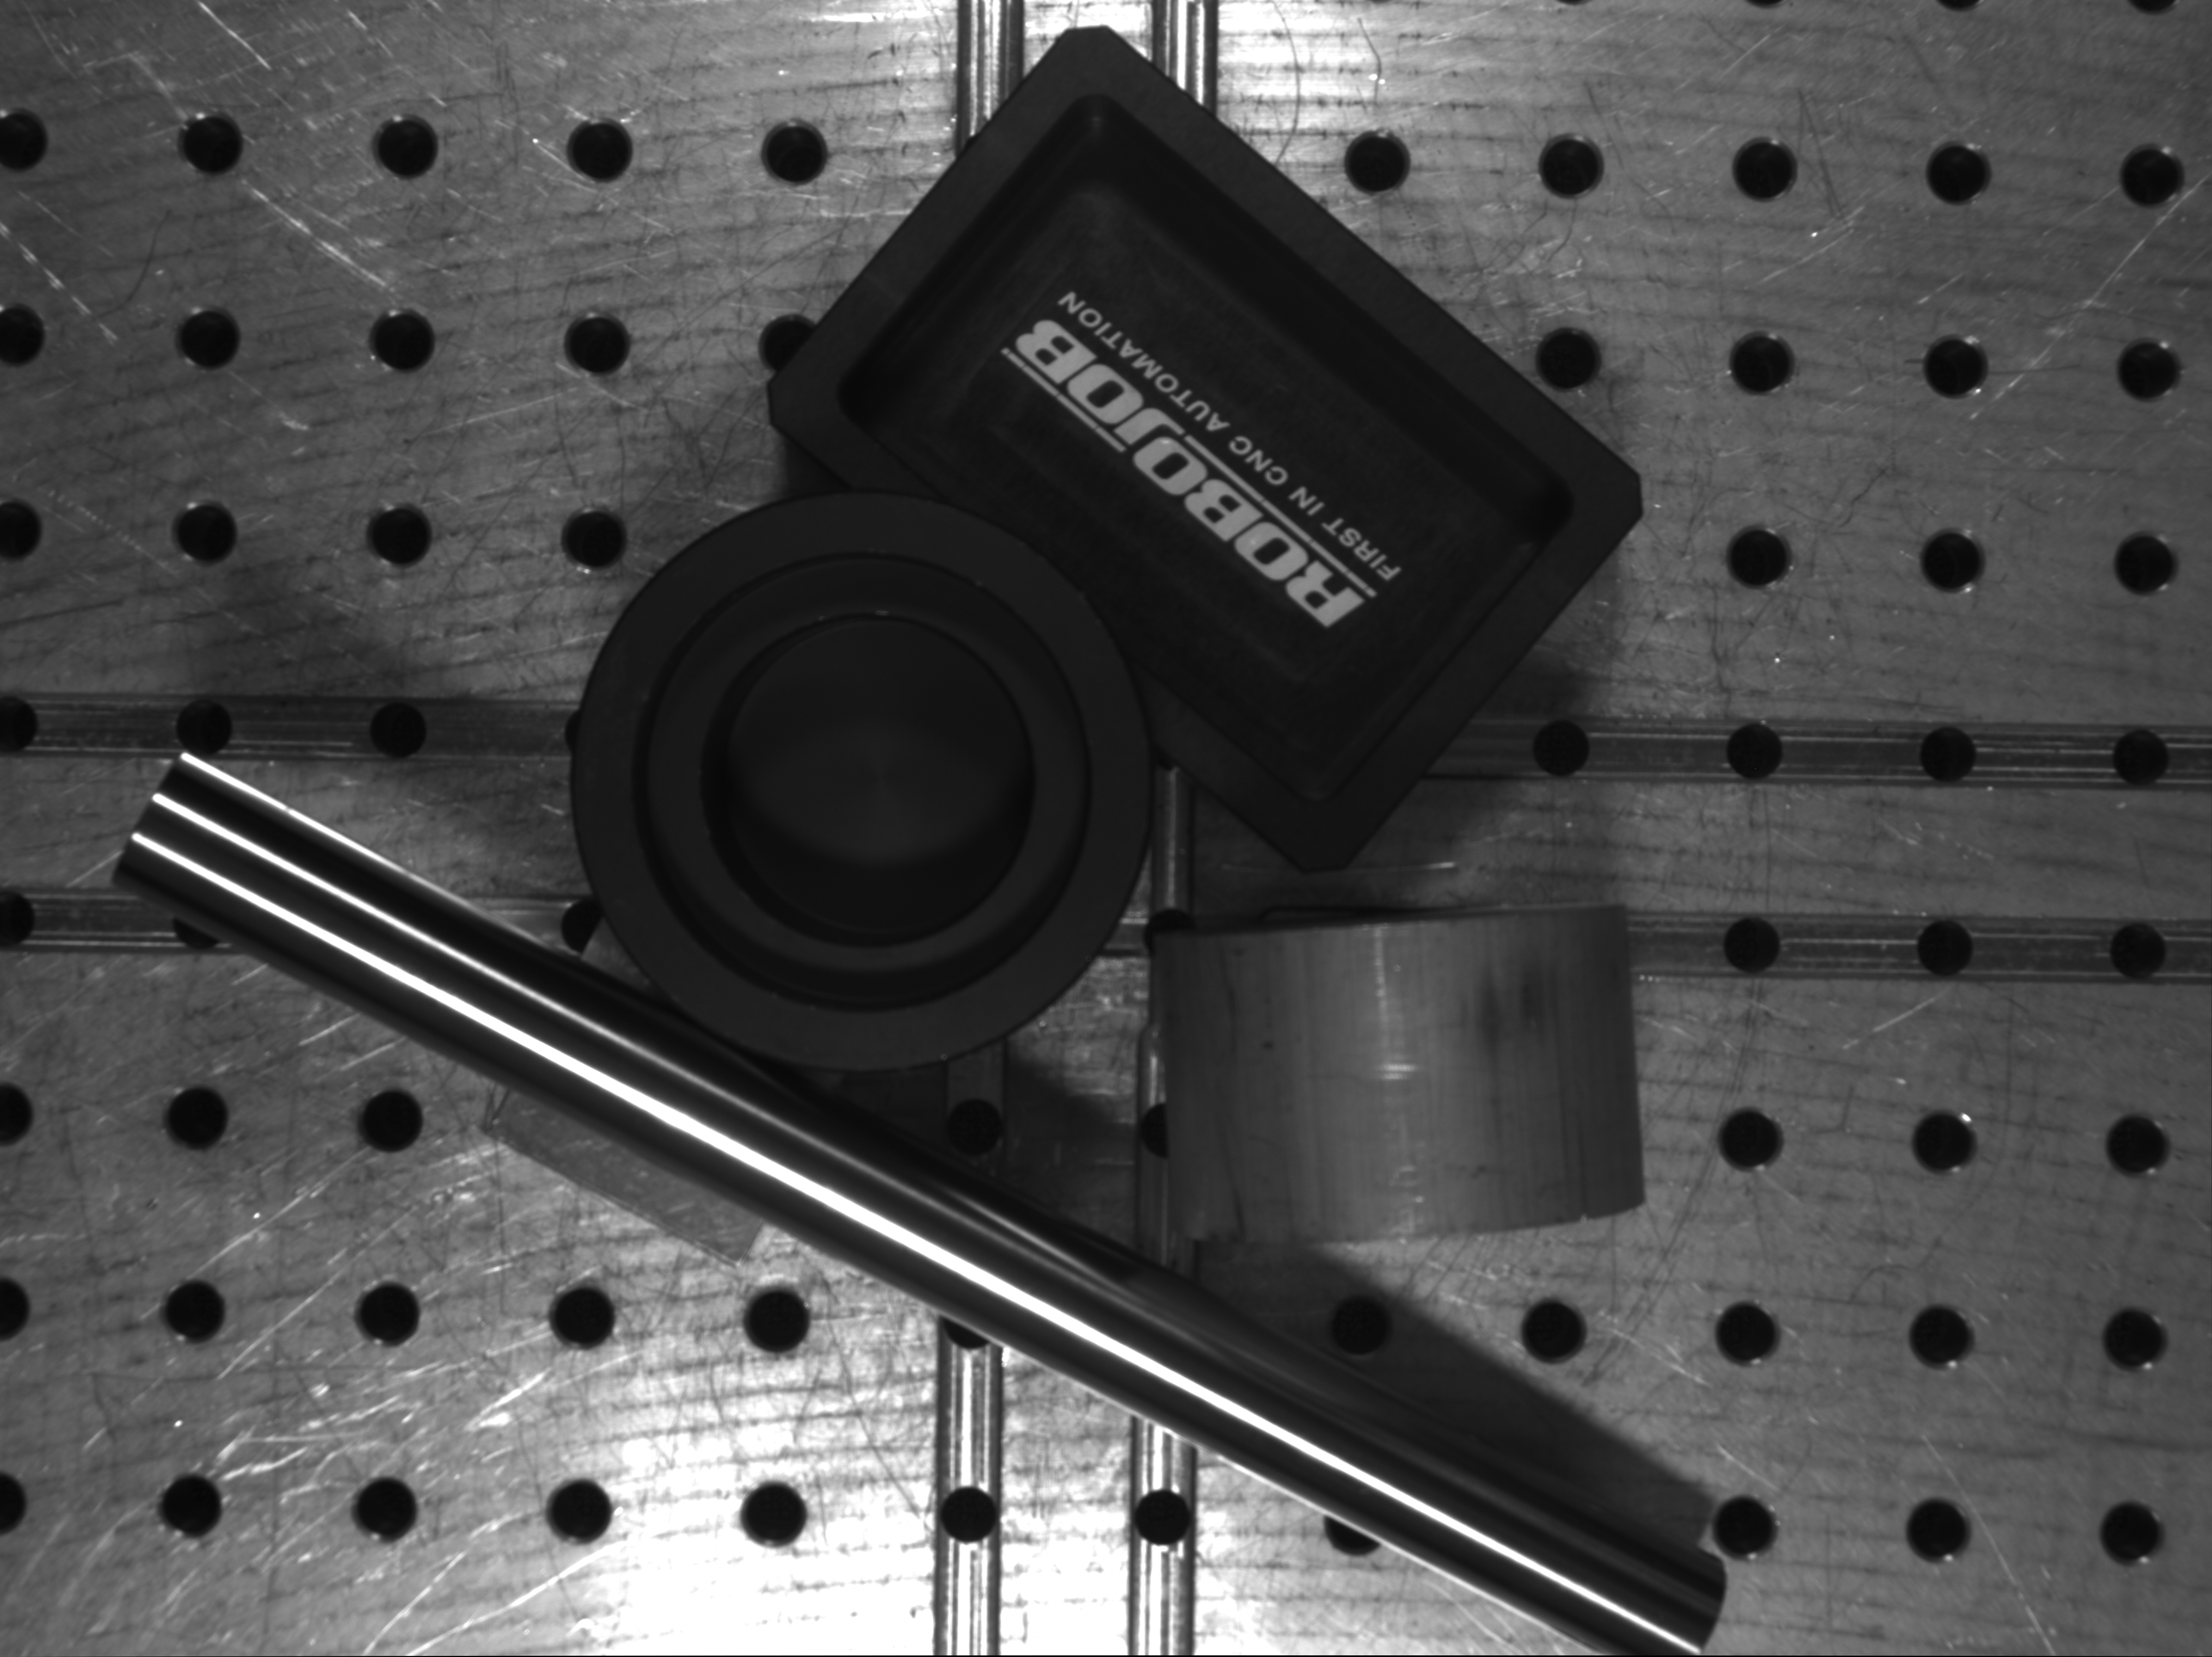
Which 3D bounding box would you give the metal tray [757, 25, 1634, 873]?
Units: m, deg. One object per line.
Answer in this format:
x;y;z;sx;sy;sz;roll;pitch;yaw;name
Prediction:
0.015;-0.065;0.644;0.130;0.030;0.090;40;89;0;metal tray

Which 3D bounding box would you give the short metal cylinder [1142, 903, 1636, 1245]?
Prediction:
0.048;0.040;0.619;0.080;0.080;0.050;-4;90;0;short metal cylinder

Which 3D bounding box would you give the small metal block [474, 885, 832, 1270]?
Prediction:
-0.076;0.043;0.647;0.050;0.025;0.050;28;90;0;small metal block

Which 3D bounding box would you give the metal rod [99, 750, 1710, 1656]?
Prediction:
-0.030;0.069;0.627;0.300;0.025;0.025;29;90;-9;metal rod

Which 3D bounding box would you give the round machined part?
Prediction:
-0.042;-0.009;0.631;0.098;0.042;0.098;0;90;2;round machined part
